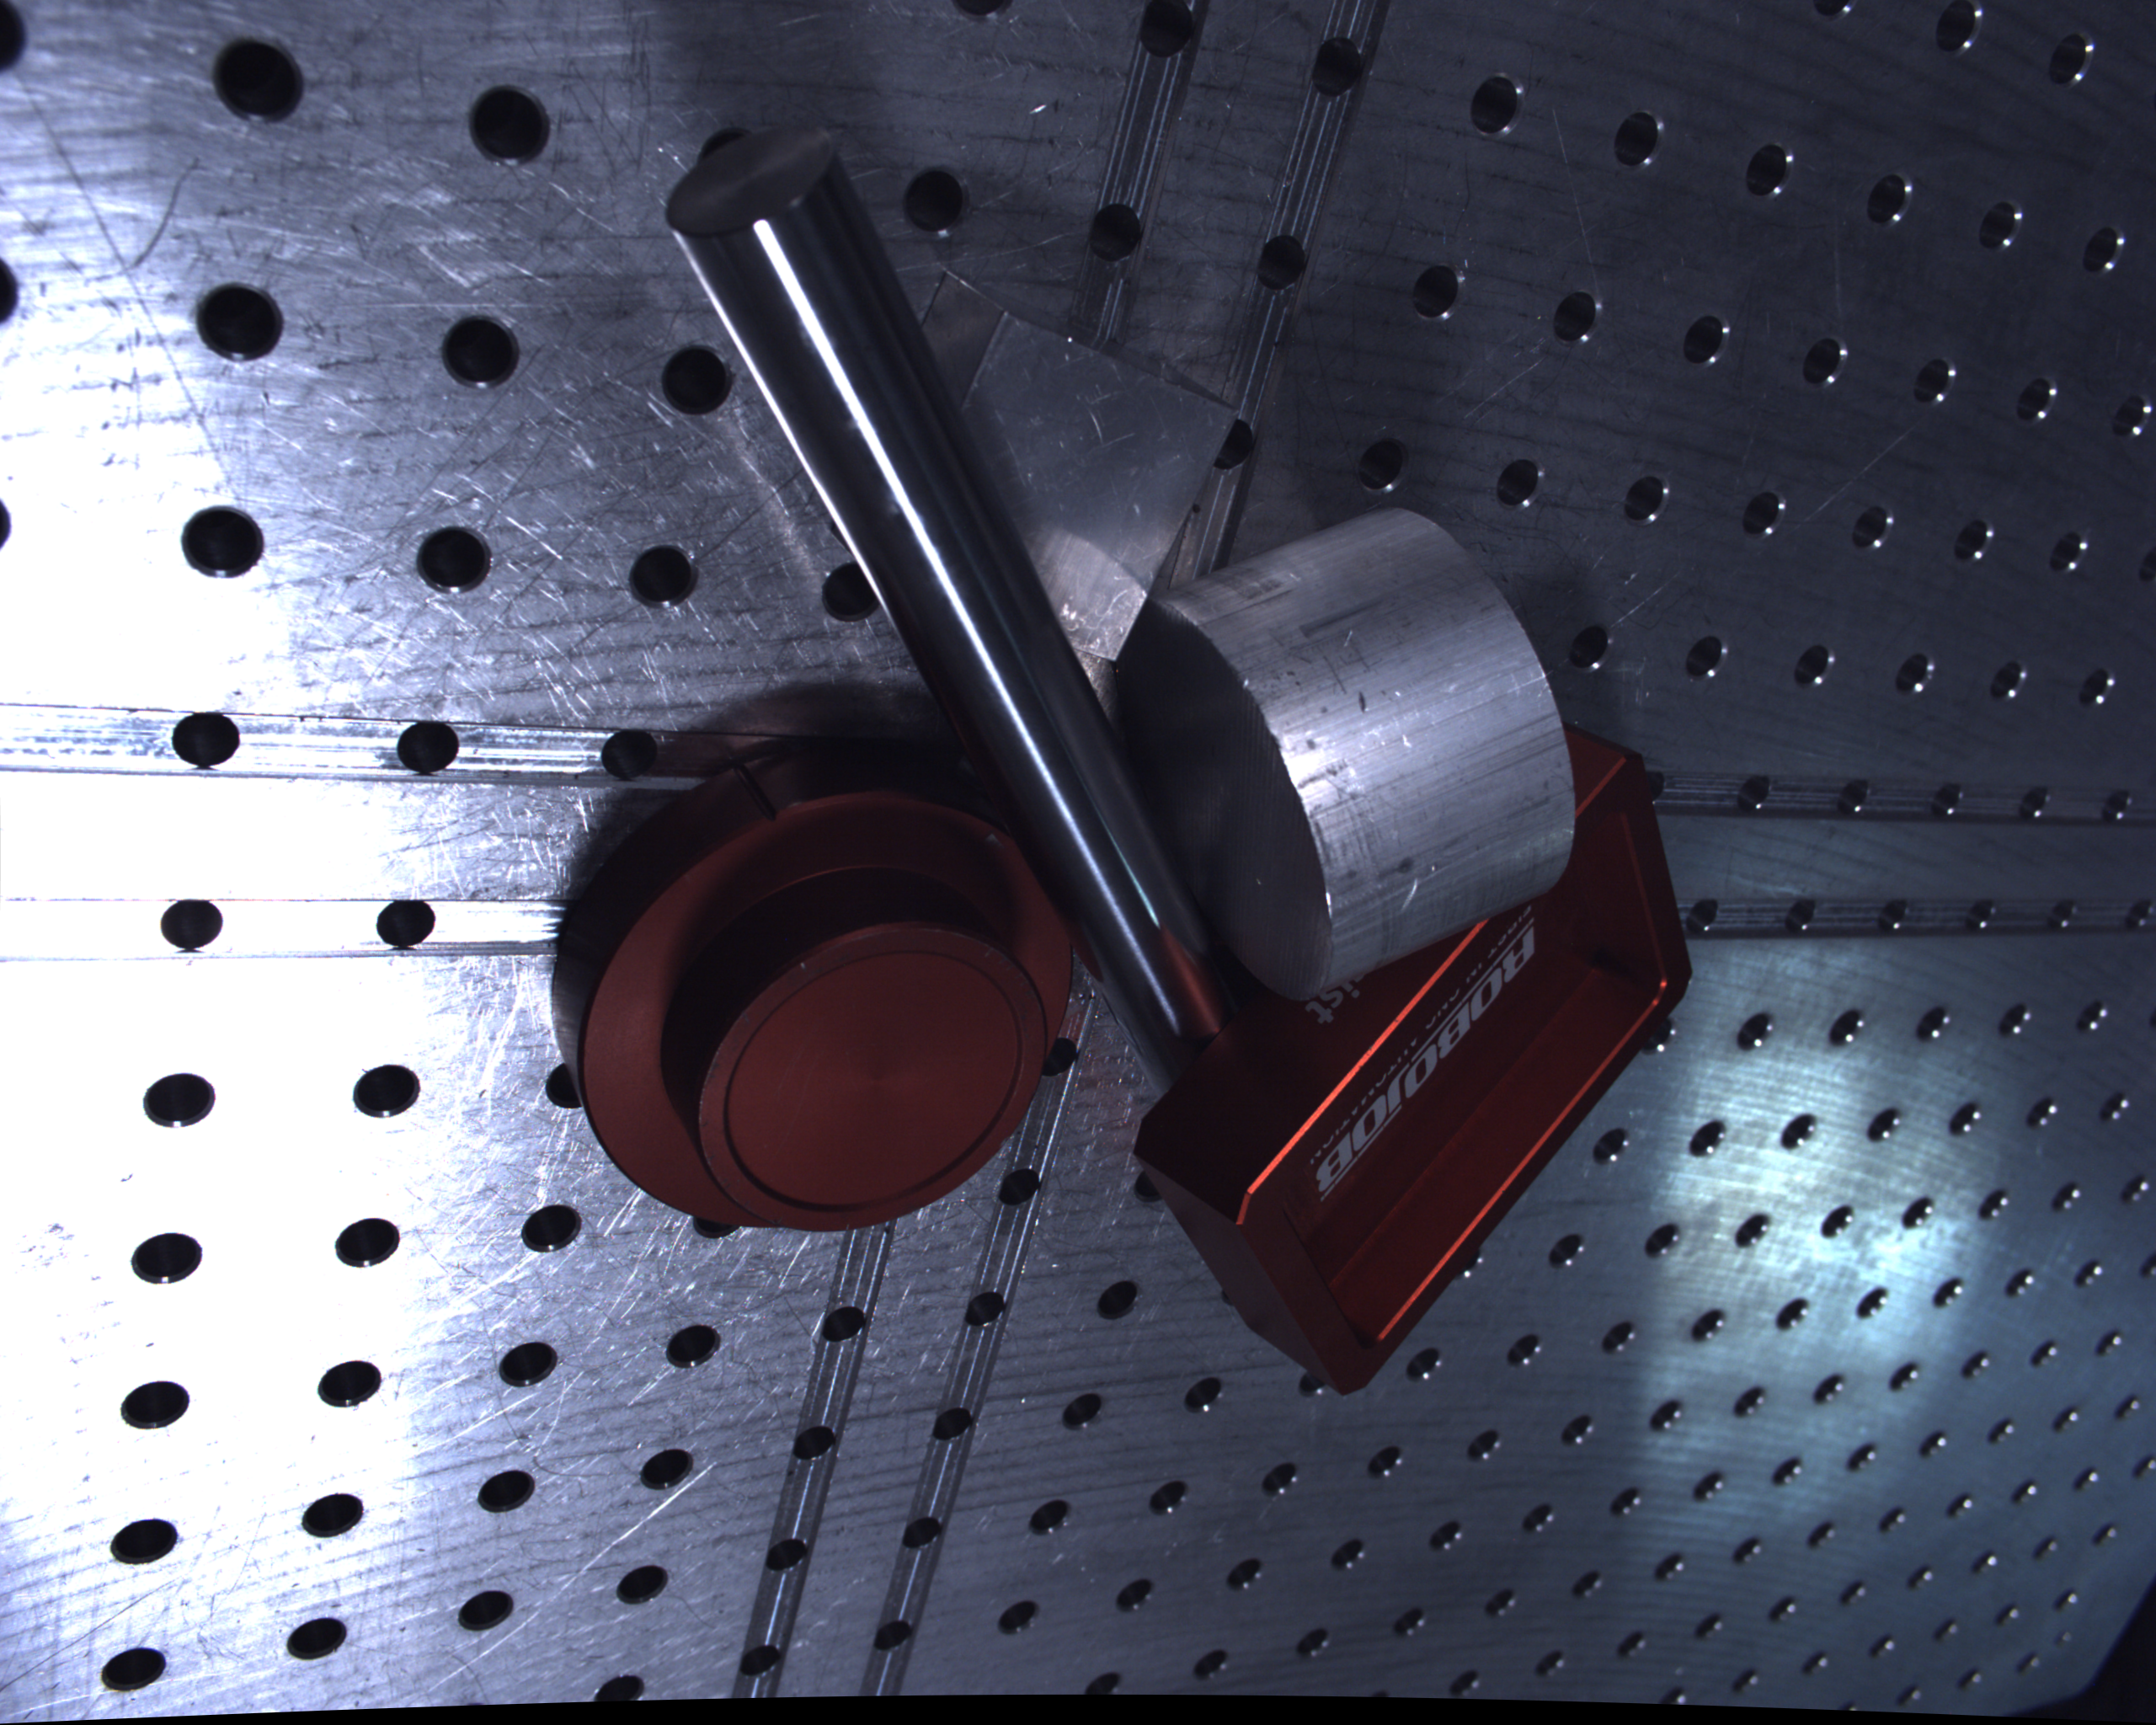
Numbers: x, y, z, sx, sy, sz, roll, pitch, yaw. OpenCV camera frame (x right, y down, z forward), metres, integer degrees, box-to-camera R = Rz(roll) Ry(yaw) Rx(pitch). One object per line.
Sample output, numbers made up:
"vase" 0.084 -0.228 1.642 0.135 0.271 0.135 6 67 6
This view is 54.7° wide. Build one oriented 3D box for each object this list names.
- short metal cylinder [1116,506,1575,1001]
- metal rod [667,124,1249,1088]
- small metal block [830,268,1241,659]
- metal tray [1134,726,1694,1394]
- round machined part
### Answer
"short metal cylinder" 0.048 -0.021 0.391 0.050 0.080 0.080 -23 127 -15
"metal rod" 0.004 -0.002 0.392 0.025 0.025 0.299 -35 137 -6
"small metal block" -0.008 -0.069 0.366 0.050 0.025 0.050 14 111 -34
"metal tray" 0.078 0.041 0.450 0.130 0.030 0.090 -47 139 -16
"round machined part" -0.045 0.031 0.395 0.099 0.042 0.097 -14 125 -21
